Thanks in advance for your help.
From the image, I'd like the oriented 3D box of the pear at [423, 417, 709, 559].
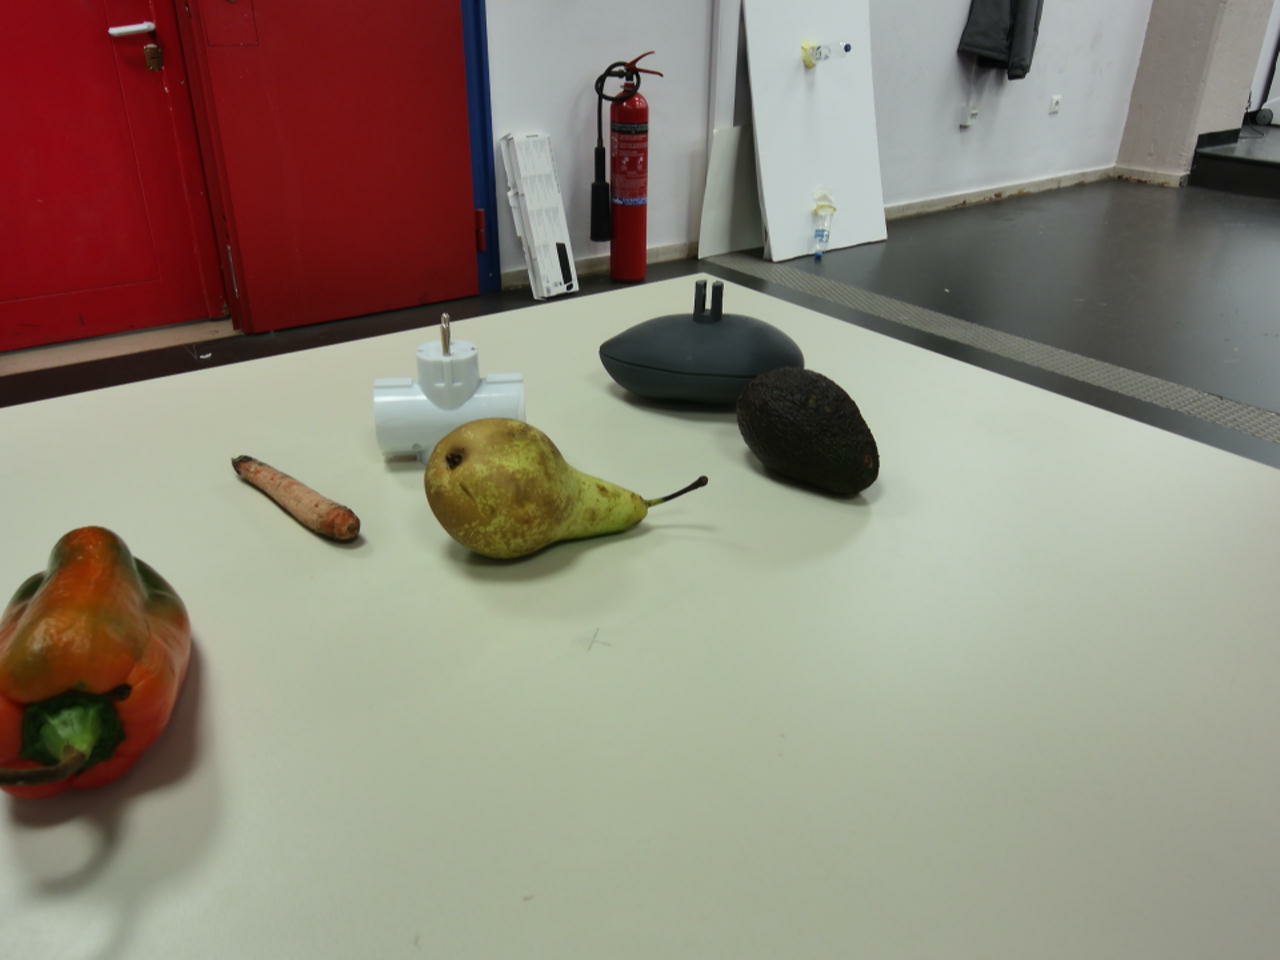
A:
[{"bbox_3d":[-0.043,-0.003,0.530,0.144,0.075,0.071,-14,28,-27],"label":"pear"}]
